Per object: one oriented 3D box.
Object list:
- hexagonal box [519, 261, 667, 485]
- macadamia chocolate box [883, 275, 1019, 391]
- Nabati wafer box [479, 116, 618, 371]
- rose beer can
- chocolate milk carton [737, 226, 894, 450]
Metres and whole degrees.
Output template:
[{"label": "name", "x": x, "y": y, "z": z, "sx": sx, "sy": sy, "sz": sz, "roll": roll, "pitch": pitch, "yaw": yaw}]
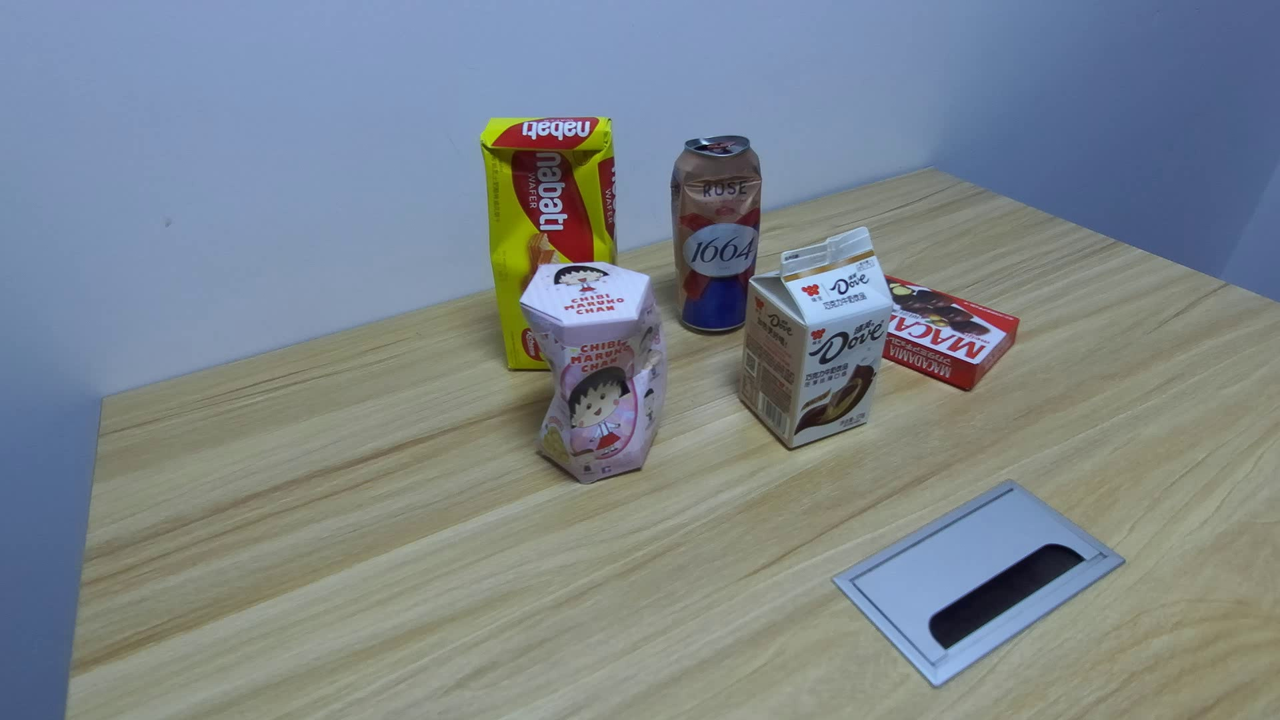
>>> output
[{"label": "hexagonal box", "x": -0.036, "y": 0.010, "z": 0.486, "sx": 0.093, "sy": 0.135, "sz": 0.089, "roll": 23, "pitch": 42, "yaw": 31}, {"label": "macadamia chocolate box", "x": 0.229, "y": -0.040, "z": 0.636, "sx": 0.186, "sy": 0.027, "sz": 0.103, "roll": 27, "pitch": 43, "yaw": 34}, {"label": "Nabati wafer box", "x": -0.066, "y": -0.084, "z": 0.560, "sx": 0.096, "sy": 0.203, "sz": 0.042, "roll": 2, "pitch": 34, "yaw": 1}, {"label": "rose beer can", "x": 0.067, "y": -0.106, "z": 0.612, "sx": 0.076, "sy": 0.167, "sz": 0.065, "roll": -1, "pitch": 31, "yaw": 6}, {"label": "chocolate milk carton", "x": 0.125, "y": -0.022, "z": 0.506, "sx": 0.075, "sy": 0.148, "sz": 0.073, "roll": -15, "pitch": 38, "yaw": -20}]
